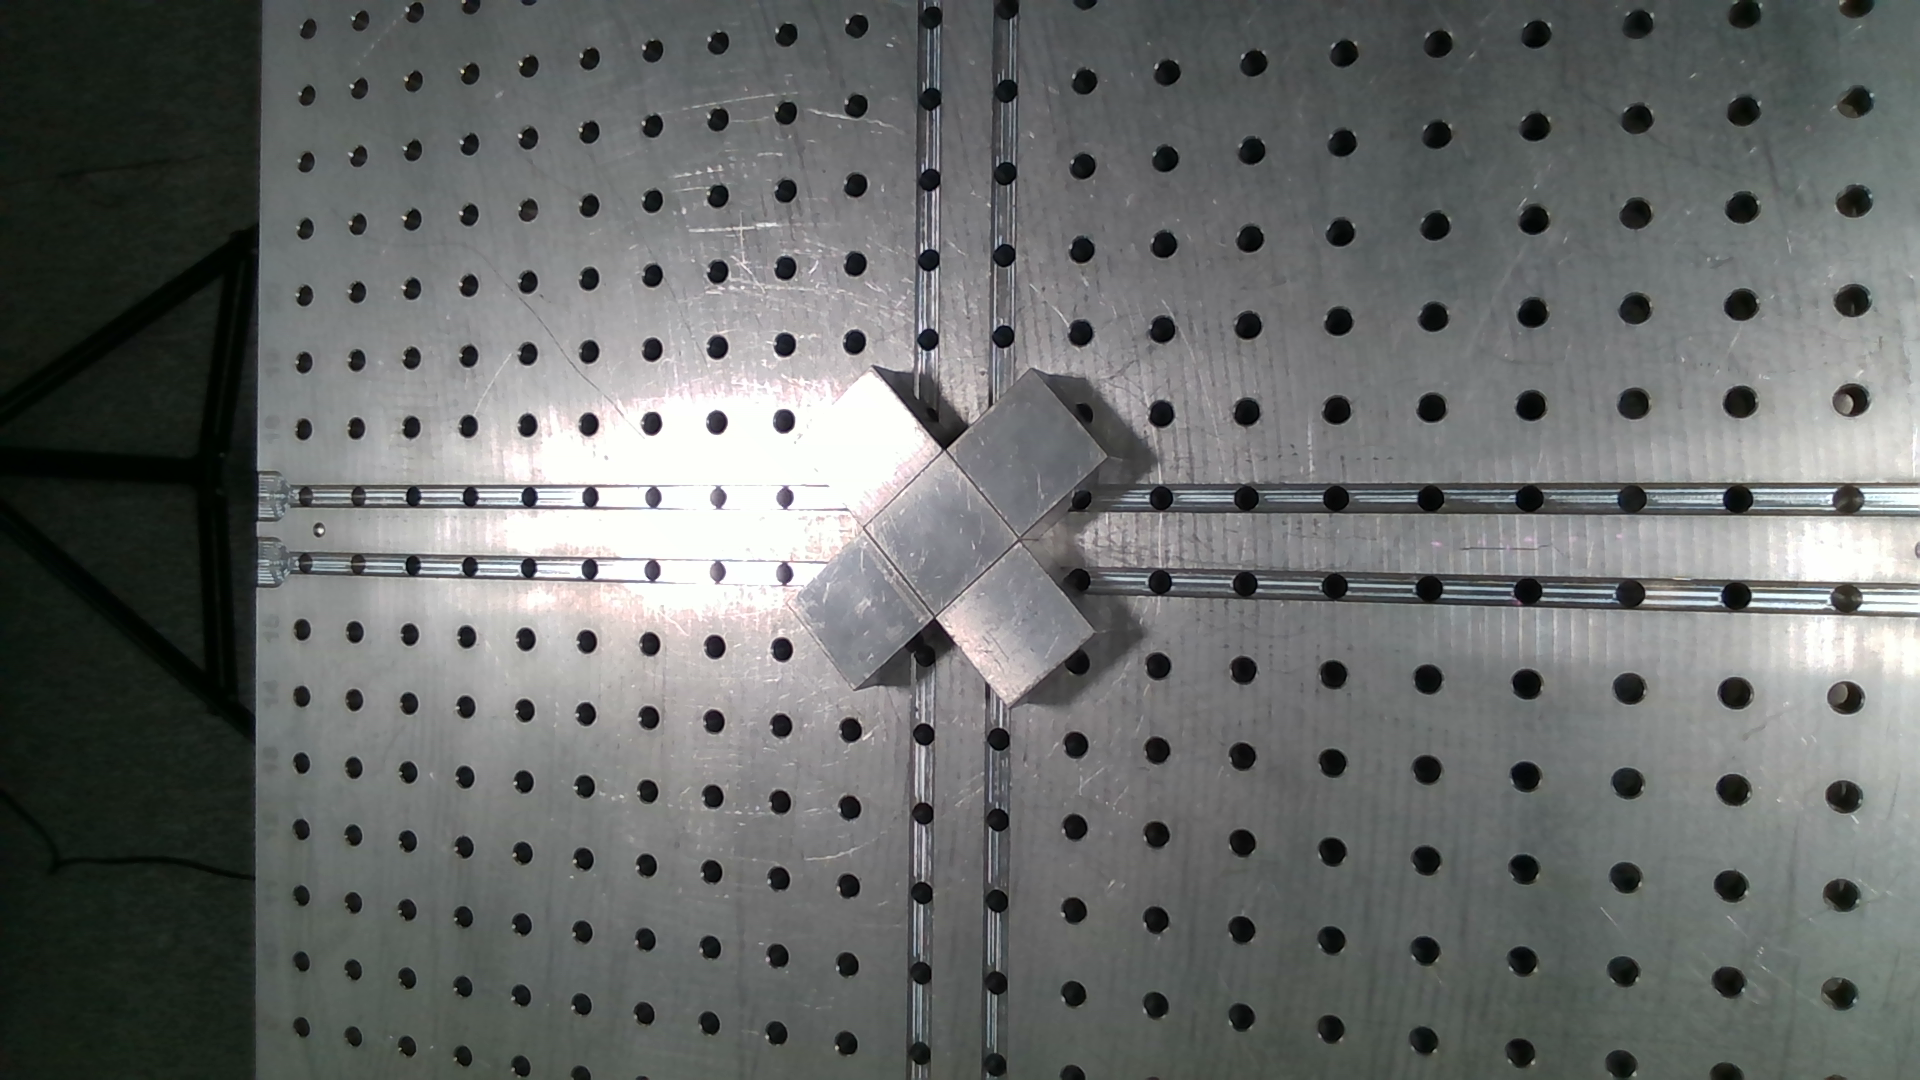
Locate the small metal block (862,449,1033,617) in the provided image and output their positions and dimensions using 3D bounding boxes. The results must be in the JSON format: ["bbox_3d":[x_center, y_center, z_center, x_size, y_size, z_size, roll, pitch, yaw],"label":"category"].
[{"bbox_3d":[-0.005,-0.003,0.589,0.050,0.025,0.050,-43,77,15],"label":"small metal block"}]

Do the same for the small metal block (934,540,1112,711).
[{"bbox_3d":[0.026,0.035,0.578,0.050,0.025,0.050,-43,77,15],"label":"small metal block"}]

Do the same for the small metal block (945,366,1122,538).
[{"bbox_3d":[0.031,-0.036,0.576,0.050,0.025,0.050,-43,77,15],"label":"small metal block"}]

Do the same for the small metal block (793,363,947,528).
[{"bbox_3d":[-0.036,-0.040,0.601,0.050,0.025,0.050,-43,77,15],"label":"small metal block"}]

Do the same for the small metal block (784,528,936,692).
[{"bbox_3d":[-0.040,0.030,0.603,0.050,0.025,0.050,-43,77,15],"label":"small metal block"}]
